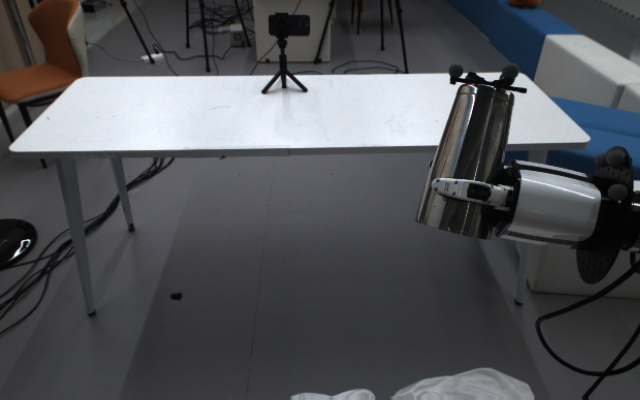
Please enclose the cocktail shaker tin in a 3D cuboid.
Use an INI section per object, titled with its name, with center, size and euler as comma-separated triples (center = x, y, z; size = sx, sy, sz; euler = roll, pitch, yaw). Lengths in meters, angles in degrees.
[cocktail shaker tin]
center = 0.180, -0.047, 0.584
size = 0.093, 0.170, 0.093
euler = 13, 4, -1
